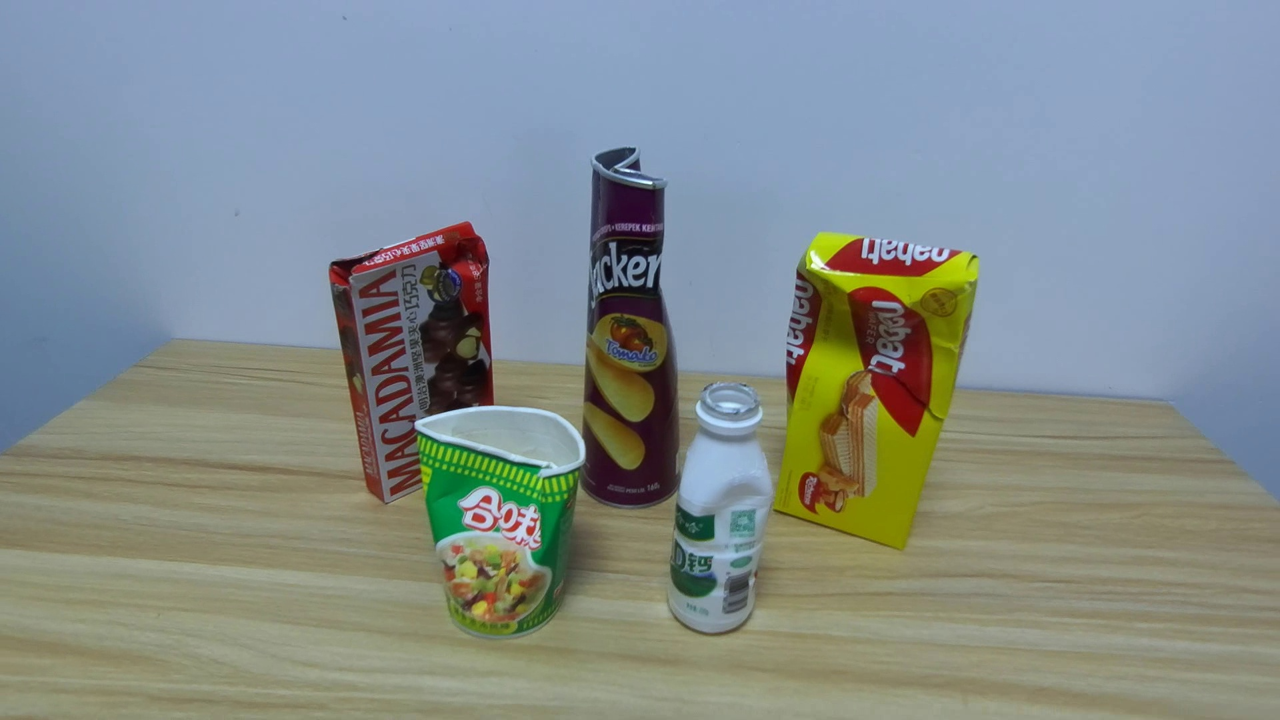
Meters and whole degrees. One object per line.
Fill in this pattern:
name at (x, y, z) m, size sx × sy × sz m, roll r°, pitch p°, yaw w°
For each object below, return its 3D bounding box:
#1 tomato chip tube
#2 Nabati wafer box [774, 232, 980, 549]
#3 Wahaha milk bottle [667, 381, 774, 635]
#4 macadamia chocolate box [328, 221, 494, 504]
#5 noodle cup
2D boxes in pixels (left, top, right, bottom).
tomato chip tube at (-0.003, -0.015, 0.477) m, size 0.076 × 0.235 × 0.078 m, roll 20°, pitch 32°, yaw 30°
Nabati wafer box at (0.141, 0.021, 0.451) m, size 0.106 × 0.204 × 0.042 m, roll 14°, pitch 33°, yaw 22°
Wahaha milk bottle at (0.042, 0.082, 0.389) m, size 0.055 × 0.149 × 0.055 m, roll 1°, pitch 30°, yaw 0°
macadamia chocolate box at (-0.148, 0.003, 0.488) m, size 0.103 × 0.187 × 0.027 m, roll -24°, pitch 42°, yaw -38°
noodle cup at (-0.077, 0.094, 0.404) m, size 0.075 × 0.122 × 0.082 m, roll -9°, pitch 21°, yaw -34°
